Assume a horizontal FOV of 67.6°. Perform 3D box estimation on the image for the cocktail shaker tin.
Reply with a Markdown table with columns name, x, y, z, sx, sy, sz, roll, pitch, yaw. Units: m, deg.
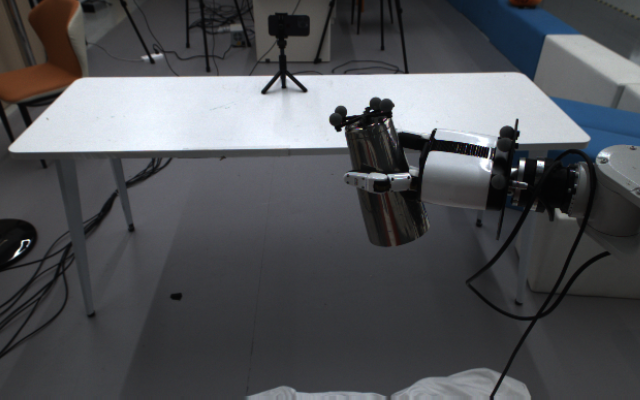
| name | x | y | z | sx | sy | sz | roll | pitch | yaw |
| --- | --- | --- | --- | --- | --- | --- | --- | --- | --- |
| cocktail shaker tin | 0.090 | -0.031 | 0.682 | 0.093 | 0.170 | 0.093 | -17 | 20 | 7 |
